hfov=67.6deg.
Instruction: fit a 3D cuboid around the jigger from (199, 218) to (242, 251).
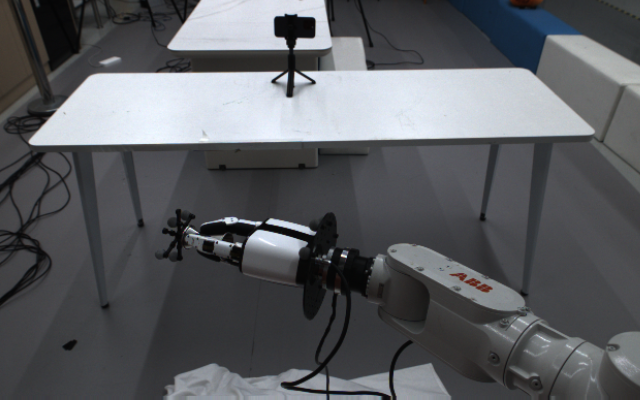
[{"bbox_3d":[-0.170,0.061,0.750,0.071,0.043,0.043,10,35,16],"label":"jigger"}]
